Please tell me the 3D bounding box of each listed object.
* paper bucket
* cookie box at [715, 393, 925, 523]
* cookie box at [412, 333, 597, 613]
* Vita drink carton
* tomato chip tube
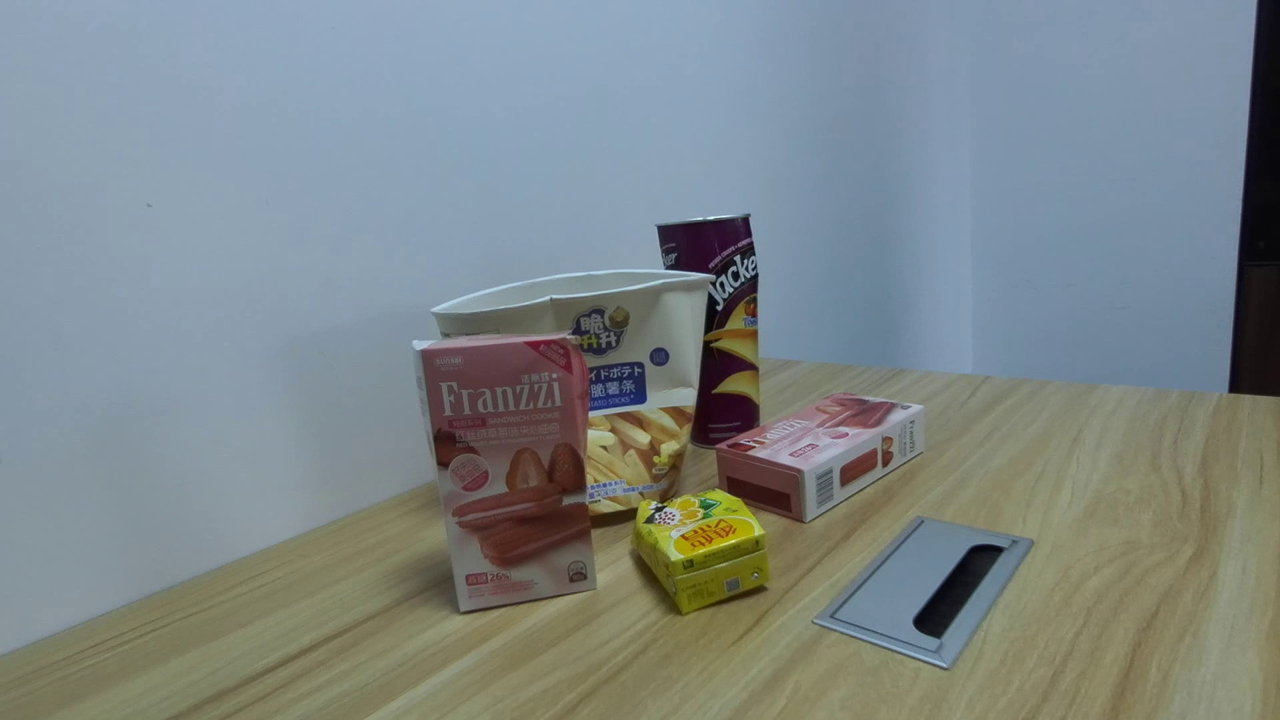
[{"bbox_3d":[-0.043,0.027,0.629,0.219,0.199,0.147,-18,17,-37],"label":"paper bucket"},{"bbox_3d":[0.164,0.080,0.633,0.185,0.048,0.095,-16,17,-39],"label":"cookie box"},{"bbox_3d":[-0.086,0.074,0.487,0.118,0.184,0.055,-6,13,-1],"label":"cookie box"},{"bbox_3d":[0.041,0.129,0.496,0.087,0.042,0.108,-15,11,-8],"label":"Vita drink carton"},{"bbox_3d":[0.079,-0.029,0.737,0.076,0.235,0.077,-15,14,-35],"label":"tomato chip tube"}]
